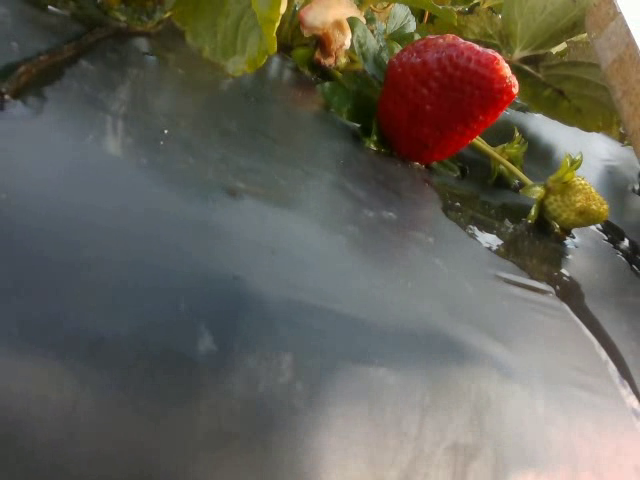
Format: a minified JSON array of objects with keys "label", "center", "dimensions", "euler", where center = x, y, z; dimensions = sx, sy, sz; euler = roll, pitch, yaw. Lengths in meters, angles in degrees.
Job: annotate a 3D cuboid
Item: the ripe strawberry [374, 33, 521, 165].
[{"label":"ripe strawberry","center":[0.051,-0.053,0.220],"dimensions":[0.043,0.052,0.057],"euler":[-15,3,-26]}]
